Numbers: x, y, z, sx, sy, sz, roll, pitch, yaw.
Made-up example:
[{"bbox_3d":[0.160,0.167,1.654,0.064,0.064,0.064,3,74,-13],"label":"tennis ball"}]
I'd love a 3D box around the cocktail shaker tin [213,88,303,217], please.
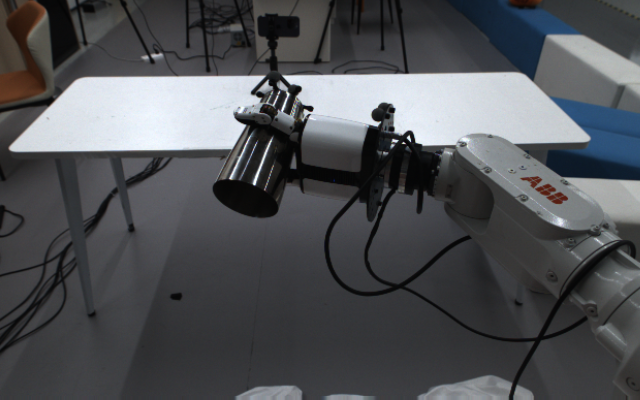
[{"bbox_3d":[-0.076,-0.071,0.676,0.093,0.093,0.170,10,60,12],"label":"cocktail shaker tin"}]
